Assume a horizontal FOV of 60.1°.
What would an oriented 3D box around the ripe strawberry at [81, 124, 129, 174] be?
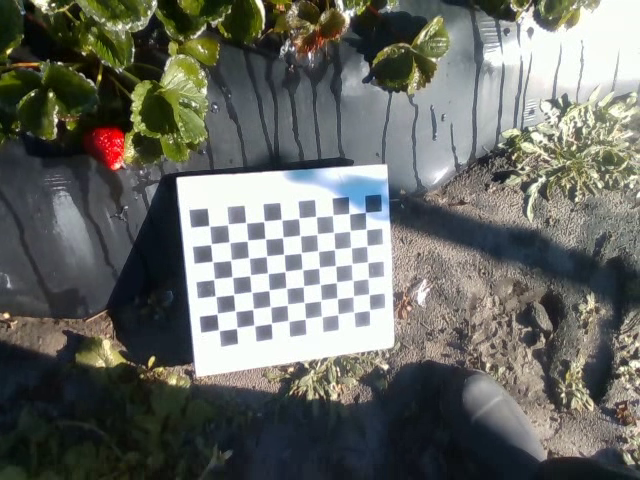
[{"bbox_3d":[-0.205,-0.089,0.536,0.041,0.053,0.047,-13,-27,-14],"label":"ripe strawberry"}]
